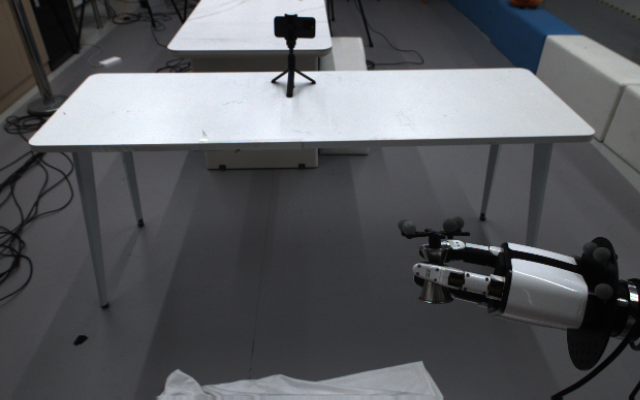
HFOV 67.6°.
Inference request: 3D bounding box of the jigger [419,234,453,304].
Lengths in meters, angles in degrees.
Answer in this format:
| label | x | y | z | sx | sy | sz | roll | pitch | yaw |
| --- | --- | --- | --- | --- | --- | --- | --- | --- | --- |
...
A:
| label | x | y | z | sx | sy | sz | roll | pitch | yaw |
| --- | --- | --- | --- | --- | --- | --- | --- | --- | --- |
| jigger | 0.147 | 0.092 | 0.618 | 0.043 | 0.071 | 0.043 | -2 | 3 | 0 |
